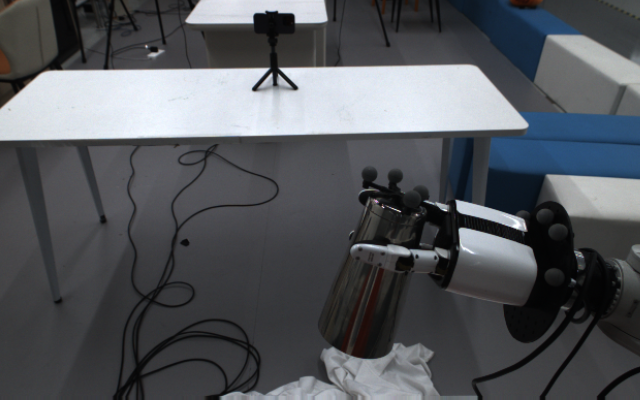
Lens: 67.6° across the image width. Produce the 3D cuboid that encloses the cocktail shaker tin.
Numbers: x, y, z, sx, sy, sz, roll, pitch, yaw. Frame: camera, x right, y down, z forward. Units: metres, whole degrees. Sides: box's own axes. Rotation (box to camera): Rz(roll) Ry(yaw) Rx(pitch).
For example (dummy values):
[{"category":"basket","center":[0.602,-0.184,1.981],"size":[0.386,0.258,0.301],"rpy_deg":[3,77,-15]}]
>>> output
[{"category":"cocktail shaker tin","center":[0.066,0.078,0.551],"size":[0.093,0.170,0.093],"rpy_deg":[14,18,-5]}]
